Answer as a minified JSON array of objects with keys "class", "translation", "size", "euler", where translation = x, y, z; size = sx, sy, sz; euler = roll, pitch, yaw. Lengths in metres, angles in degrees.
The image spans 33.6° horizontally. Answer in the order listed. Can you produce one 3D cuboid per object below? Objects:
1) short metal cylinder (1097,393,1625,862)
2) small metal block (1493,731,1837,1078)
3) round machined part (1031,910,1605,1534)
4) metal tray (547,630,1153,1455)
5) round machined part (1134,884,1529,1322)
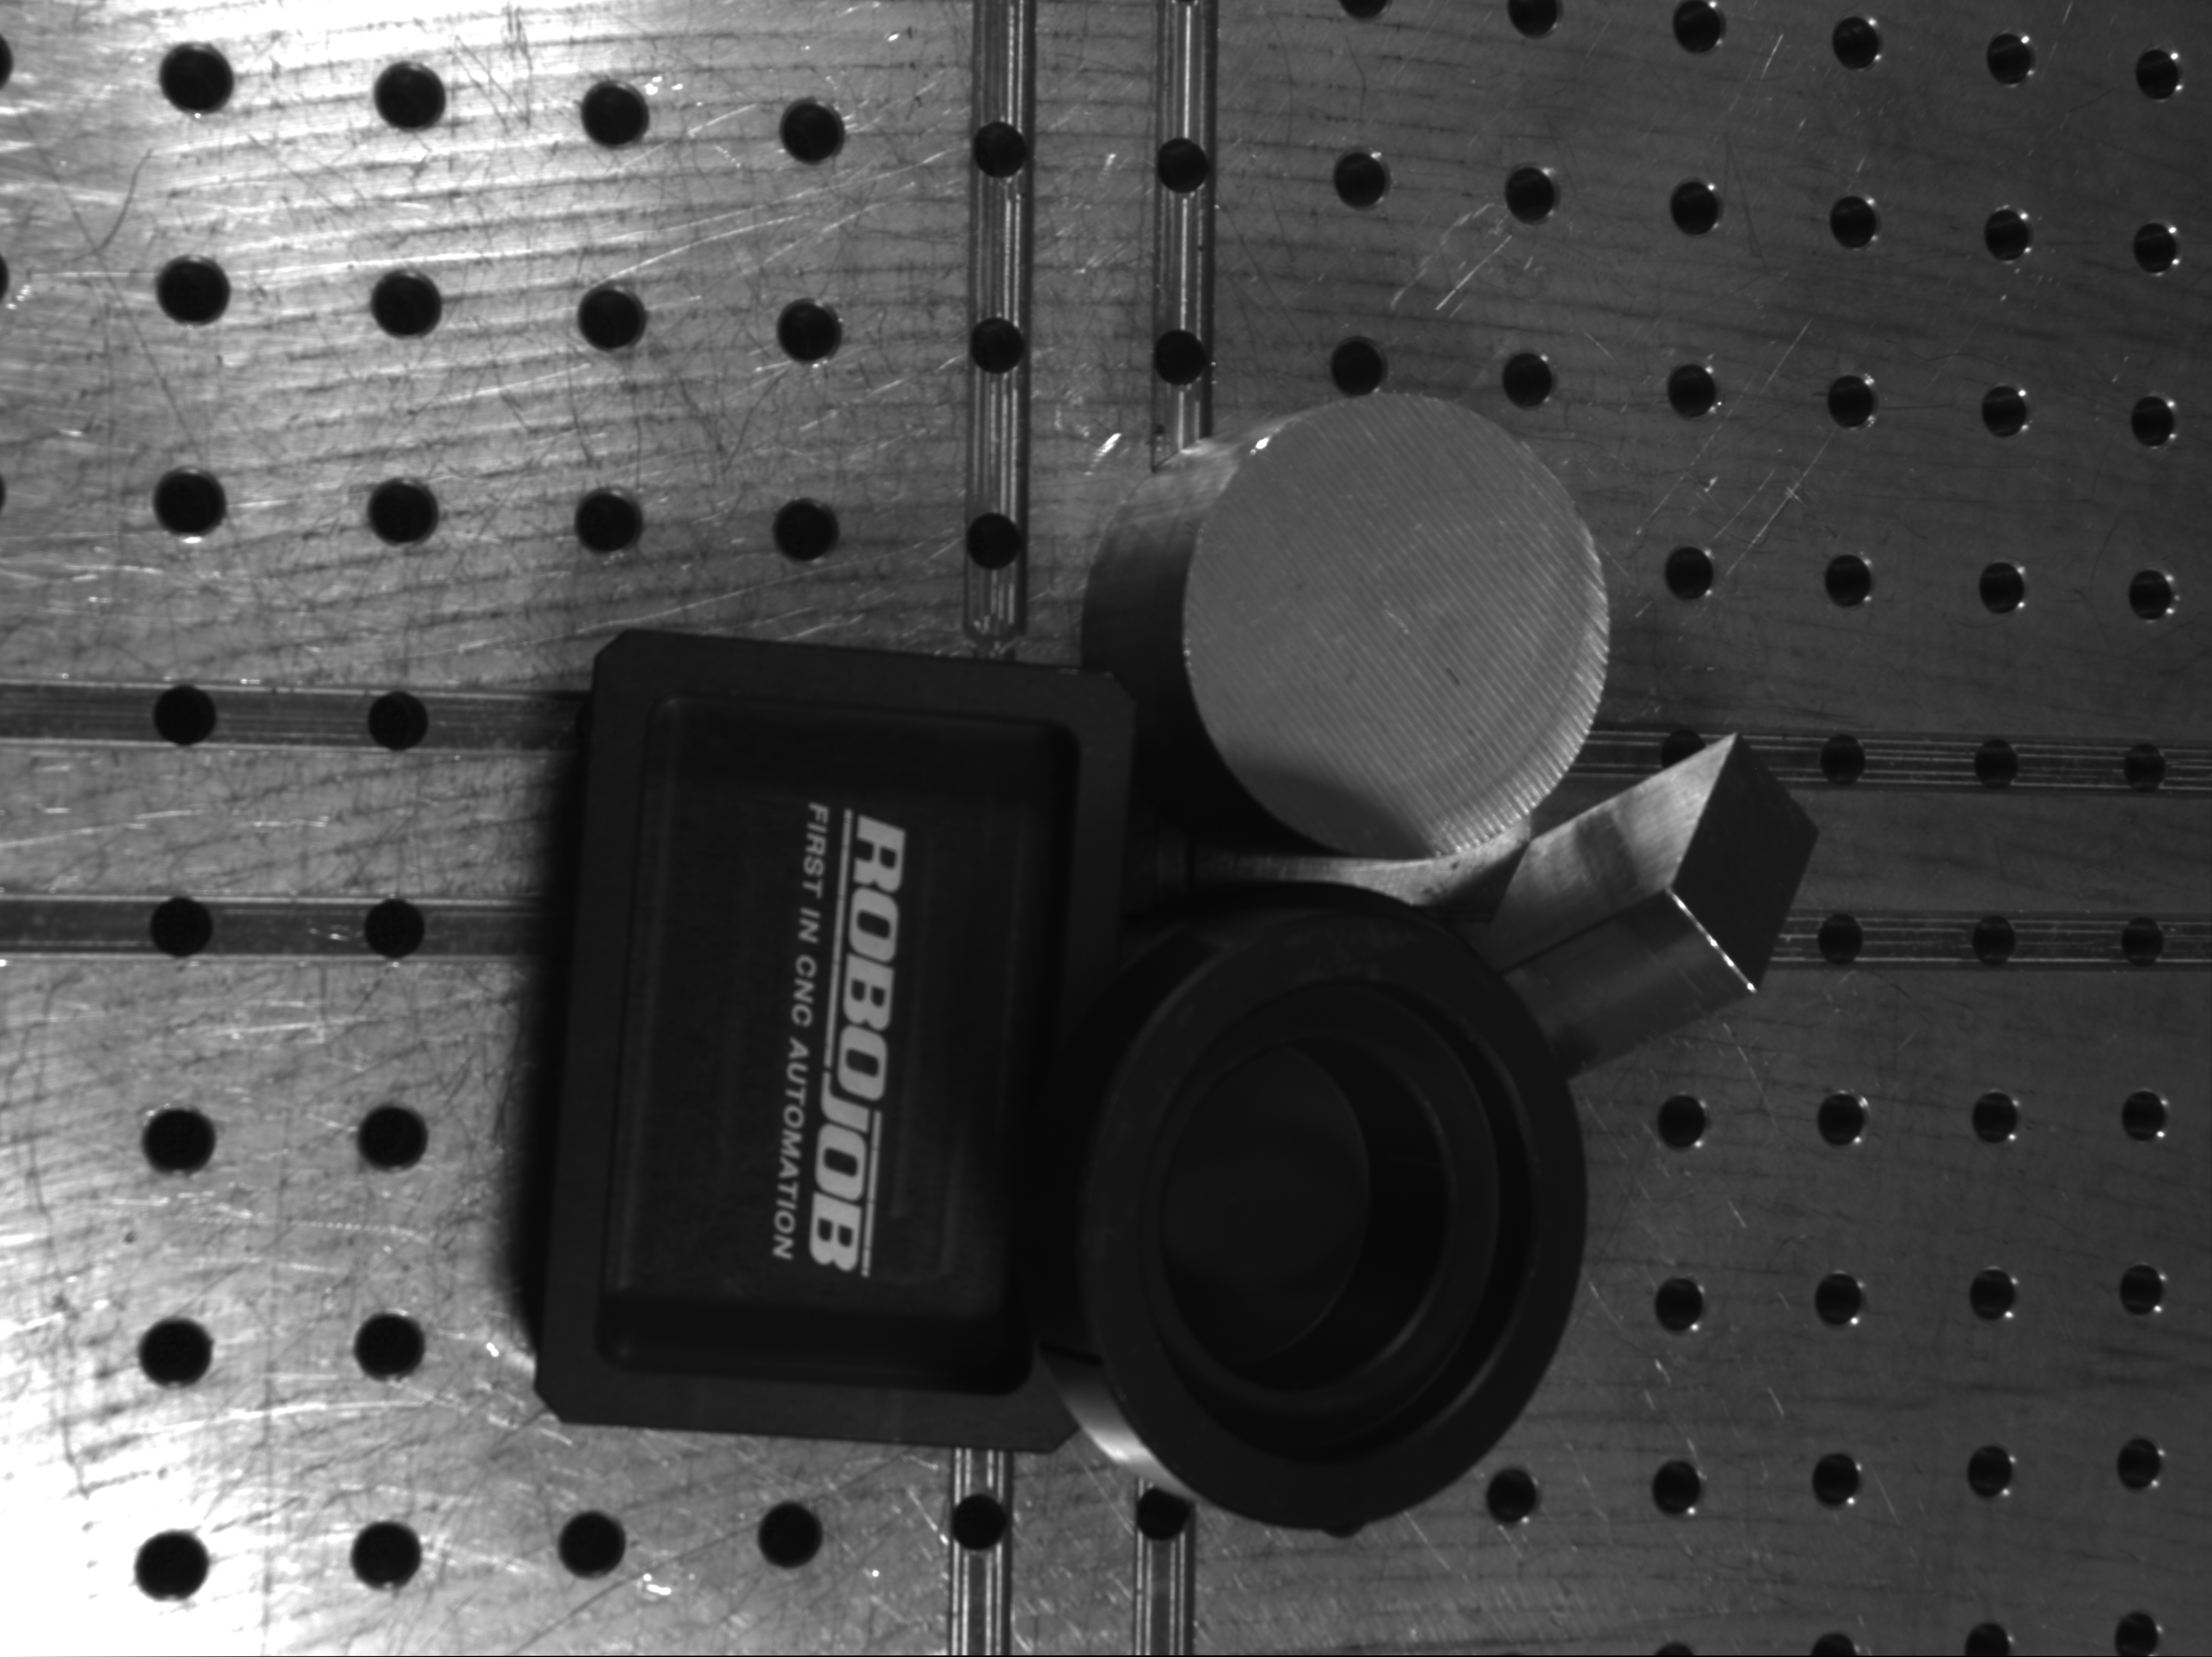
[{"class":"short metal cylinder","translation":[0.045,-0.034,0.648],"size":[0.080,0.050,0.080],"euler":[0,90,-20]},{"class":"small metal block","translation":[0.099,0.015,0.658],"size":[0.025,0.050,0.050],"euler":[48,40,-13]},{"class":"round machined part","translation":[0.030,0.062,0.597],"size":[0.098,0.042,0.098],"euler":[-1,92,-30]},{"class":"metal tray","translation":[-0.043,0.036,0.616],"size":[0.090,0.030,0.130],"euler":[5,88,-5]},{"class":"round machined part","translation":[0.040,0.059,0.650],"size":[0.098,0.042,0.098],"euler":[0,90,-20]}]
